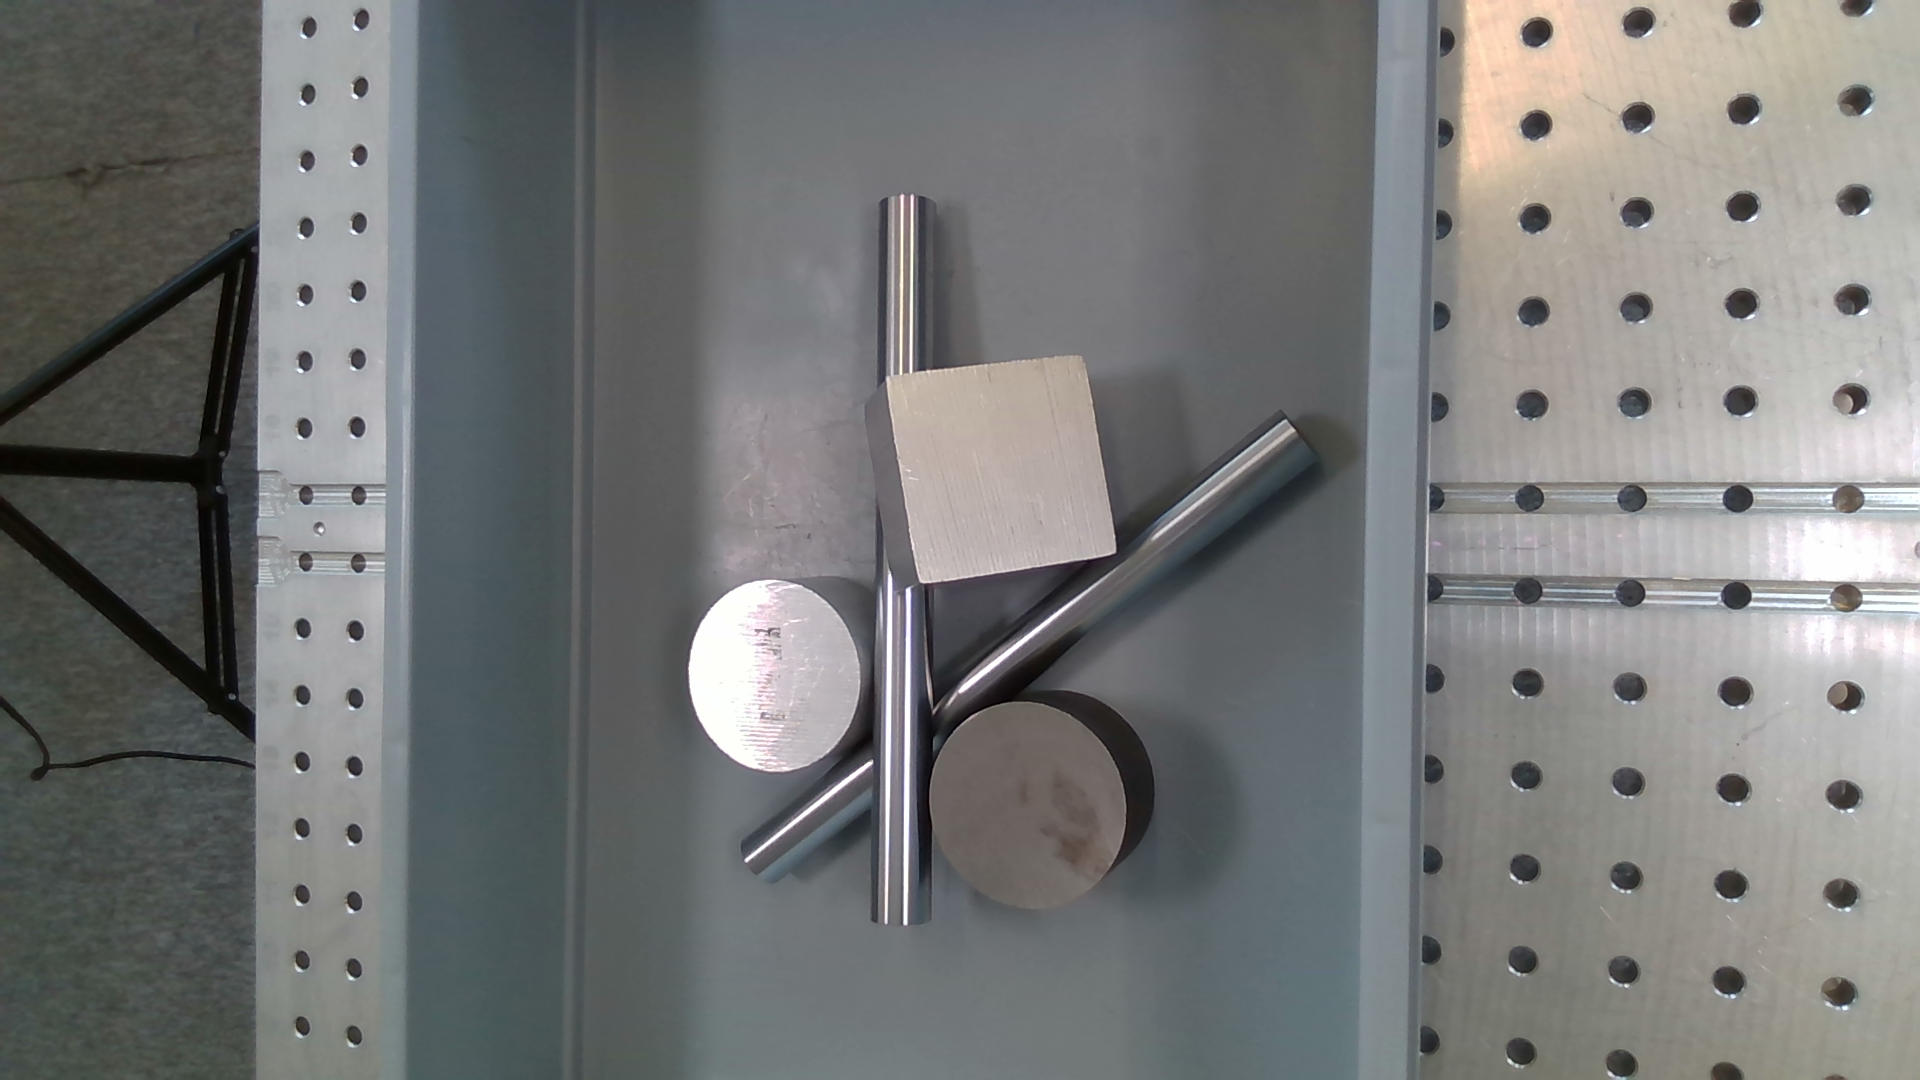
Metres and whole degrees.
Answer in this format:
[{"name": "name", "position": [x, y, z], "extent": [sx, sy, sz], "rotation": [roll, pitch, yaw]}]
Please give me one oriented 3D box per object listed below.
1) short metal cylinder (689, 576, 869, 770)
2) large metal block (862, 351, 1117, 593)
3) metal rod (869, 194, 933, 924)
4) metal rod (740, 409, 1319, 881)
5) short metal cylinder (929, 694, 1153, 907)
[{"name": "short metal cylinder", "position": [-0.070, 0.056, 0.598], "extent": [0.080, 0.050, 0.080], "rotation": [0, 91, 20]}, {"name": "large metal block", "position": [0.010, -0.026, 0.548], "extent": [0.080, 0.050, 0.080], "rotation": [-9, 86, -15]}, {"name": "metal rod", "position": [-0.024, 0.005, 0.576], "extent": [0.025, 0.025, 0.300], "rotation": [-2, 84, 20]}, {"name": "metal rod", "position": [0.021, 0.051, 0.578], "extent": [0.300, 0.025, 0.025], "rotation": [-40, 77, 16]}, {"name": "short metal cylinder", "position": [0.034, 0.103, 0.560], "extent": [0.080, 0.050, 0.080], "rotation": [0, 91, 20]}]
